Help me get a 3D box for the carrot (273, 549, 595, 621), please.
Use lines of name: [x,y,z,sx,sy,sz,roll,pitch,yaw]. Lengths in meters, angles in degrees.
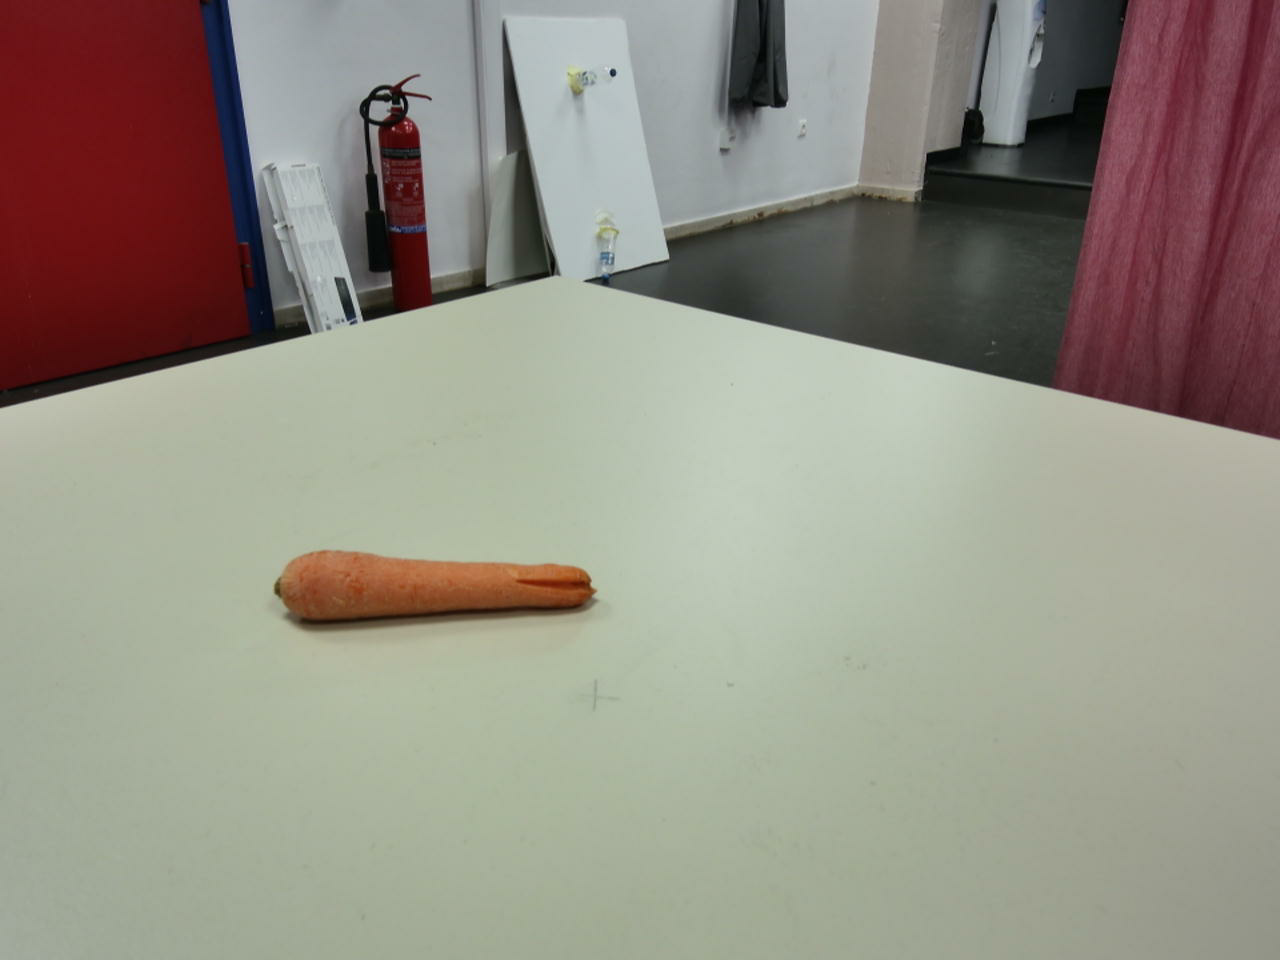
carrot: [-0.088,0.044,0.432,0.136,0.032,0.030,-2,23,-5]
